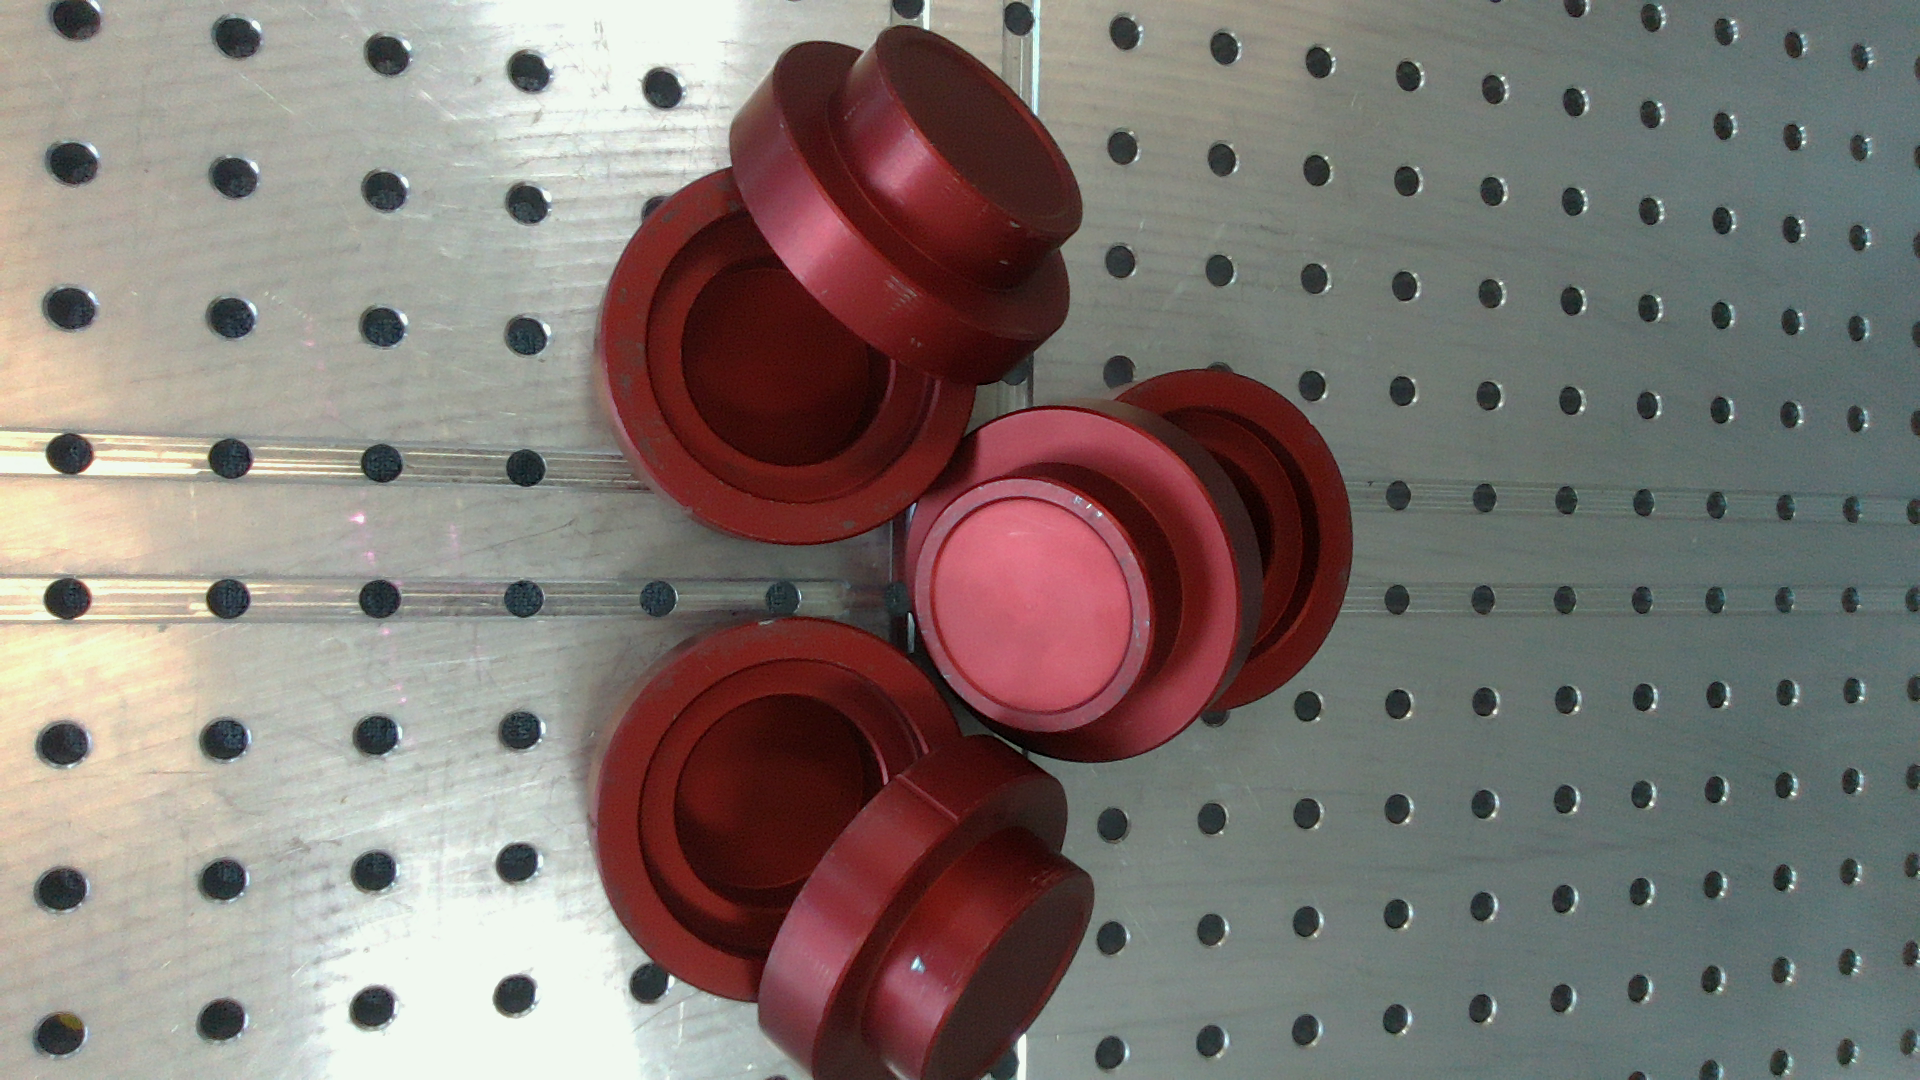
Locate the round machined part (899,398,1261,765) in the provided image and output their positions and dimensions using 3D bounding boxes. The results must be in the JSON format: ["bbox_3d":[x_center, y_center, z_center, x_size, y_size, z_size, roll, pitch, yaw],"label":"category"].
[{"bbox_3d":[0.026,0.013,0.364,0.042,0.098,0.098,-22,100,-61],"label":"round machined part"}]

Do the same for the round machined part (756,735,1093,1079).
[{"bbox_3d":[-0.003,0.103,0.356,0.098,0.042,0.098,-39,146,-33],"label":"round machined part"}]

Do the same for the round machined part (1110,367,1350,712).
[{"bbox_3d":[0.063,0.000,0.409,0.098,0.042,0.098,0,90,-20],"label":"round machined part"}]

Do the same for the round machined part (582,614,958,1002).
[{"bbox_3d":[-0.050,0.068,0.368,0.098,0.042,0.098,0,90,-20],"label":"round machined part"}]

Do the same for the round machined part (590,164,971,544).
[{"bbox_3d":[-0.049,-0.048,0.368,0.098,0.042,0.098,0,90,-20],"label":"round machined part"}]

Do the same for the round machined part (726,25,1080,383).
[{"bbox_3d":[-0.007,-0.092,0.355,0.098,0.042,0.098,32,36,-26],"label":"round machined part"}]
